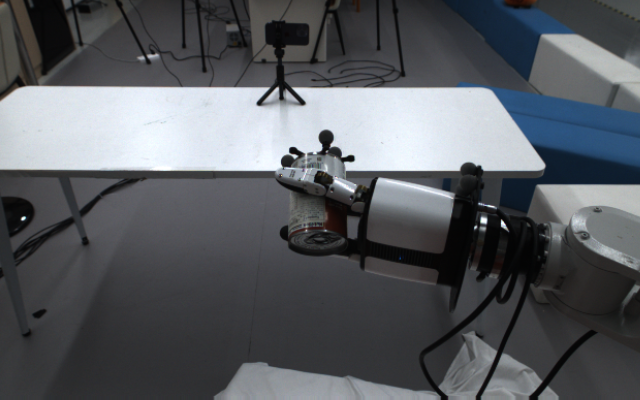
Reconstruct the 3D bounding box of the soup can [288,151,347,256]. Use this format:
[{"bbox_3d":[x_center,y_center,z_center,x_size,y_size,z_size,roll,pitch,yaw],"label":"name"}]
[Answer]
[{"bbox_3d":[-0.002,0.003,0.555,0.067,0.067,0.101,1,61,-2],"label":"soup can"}]
